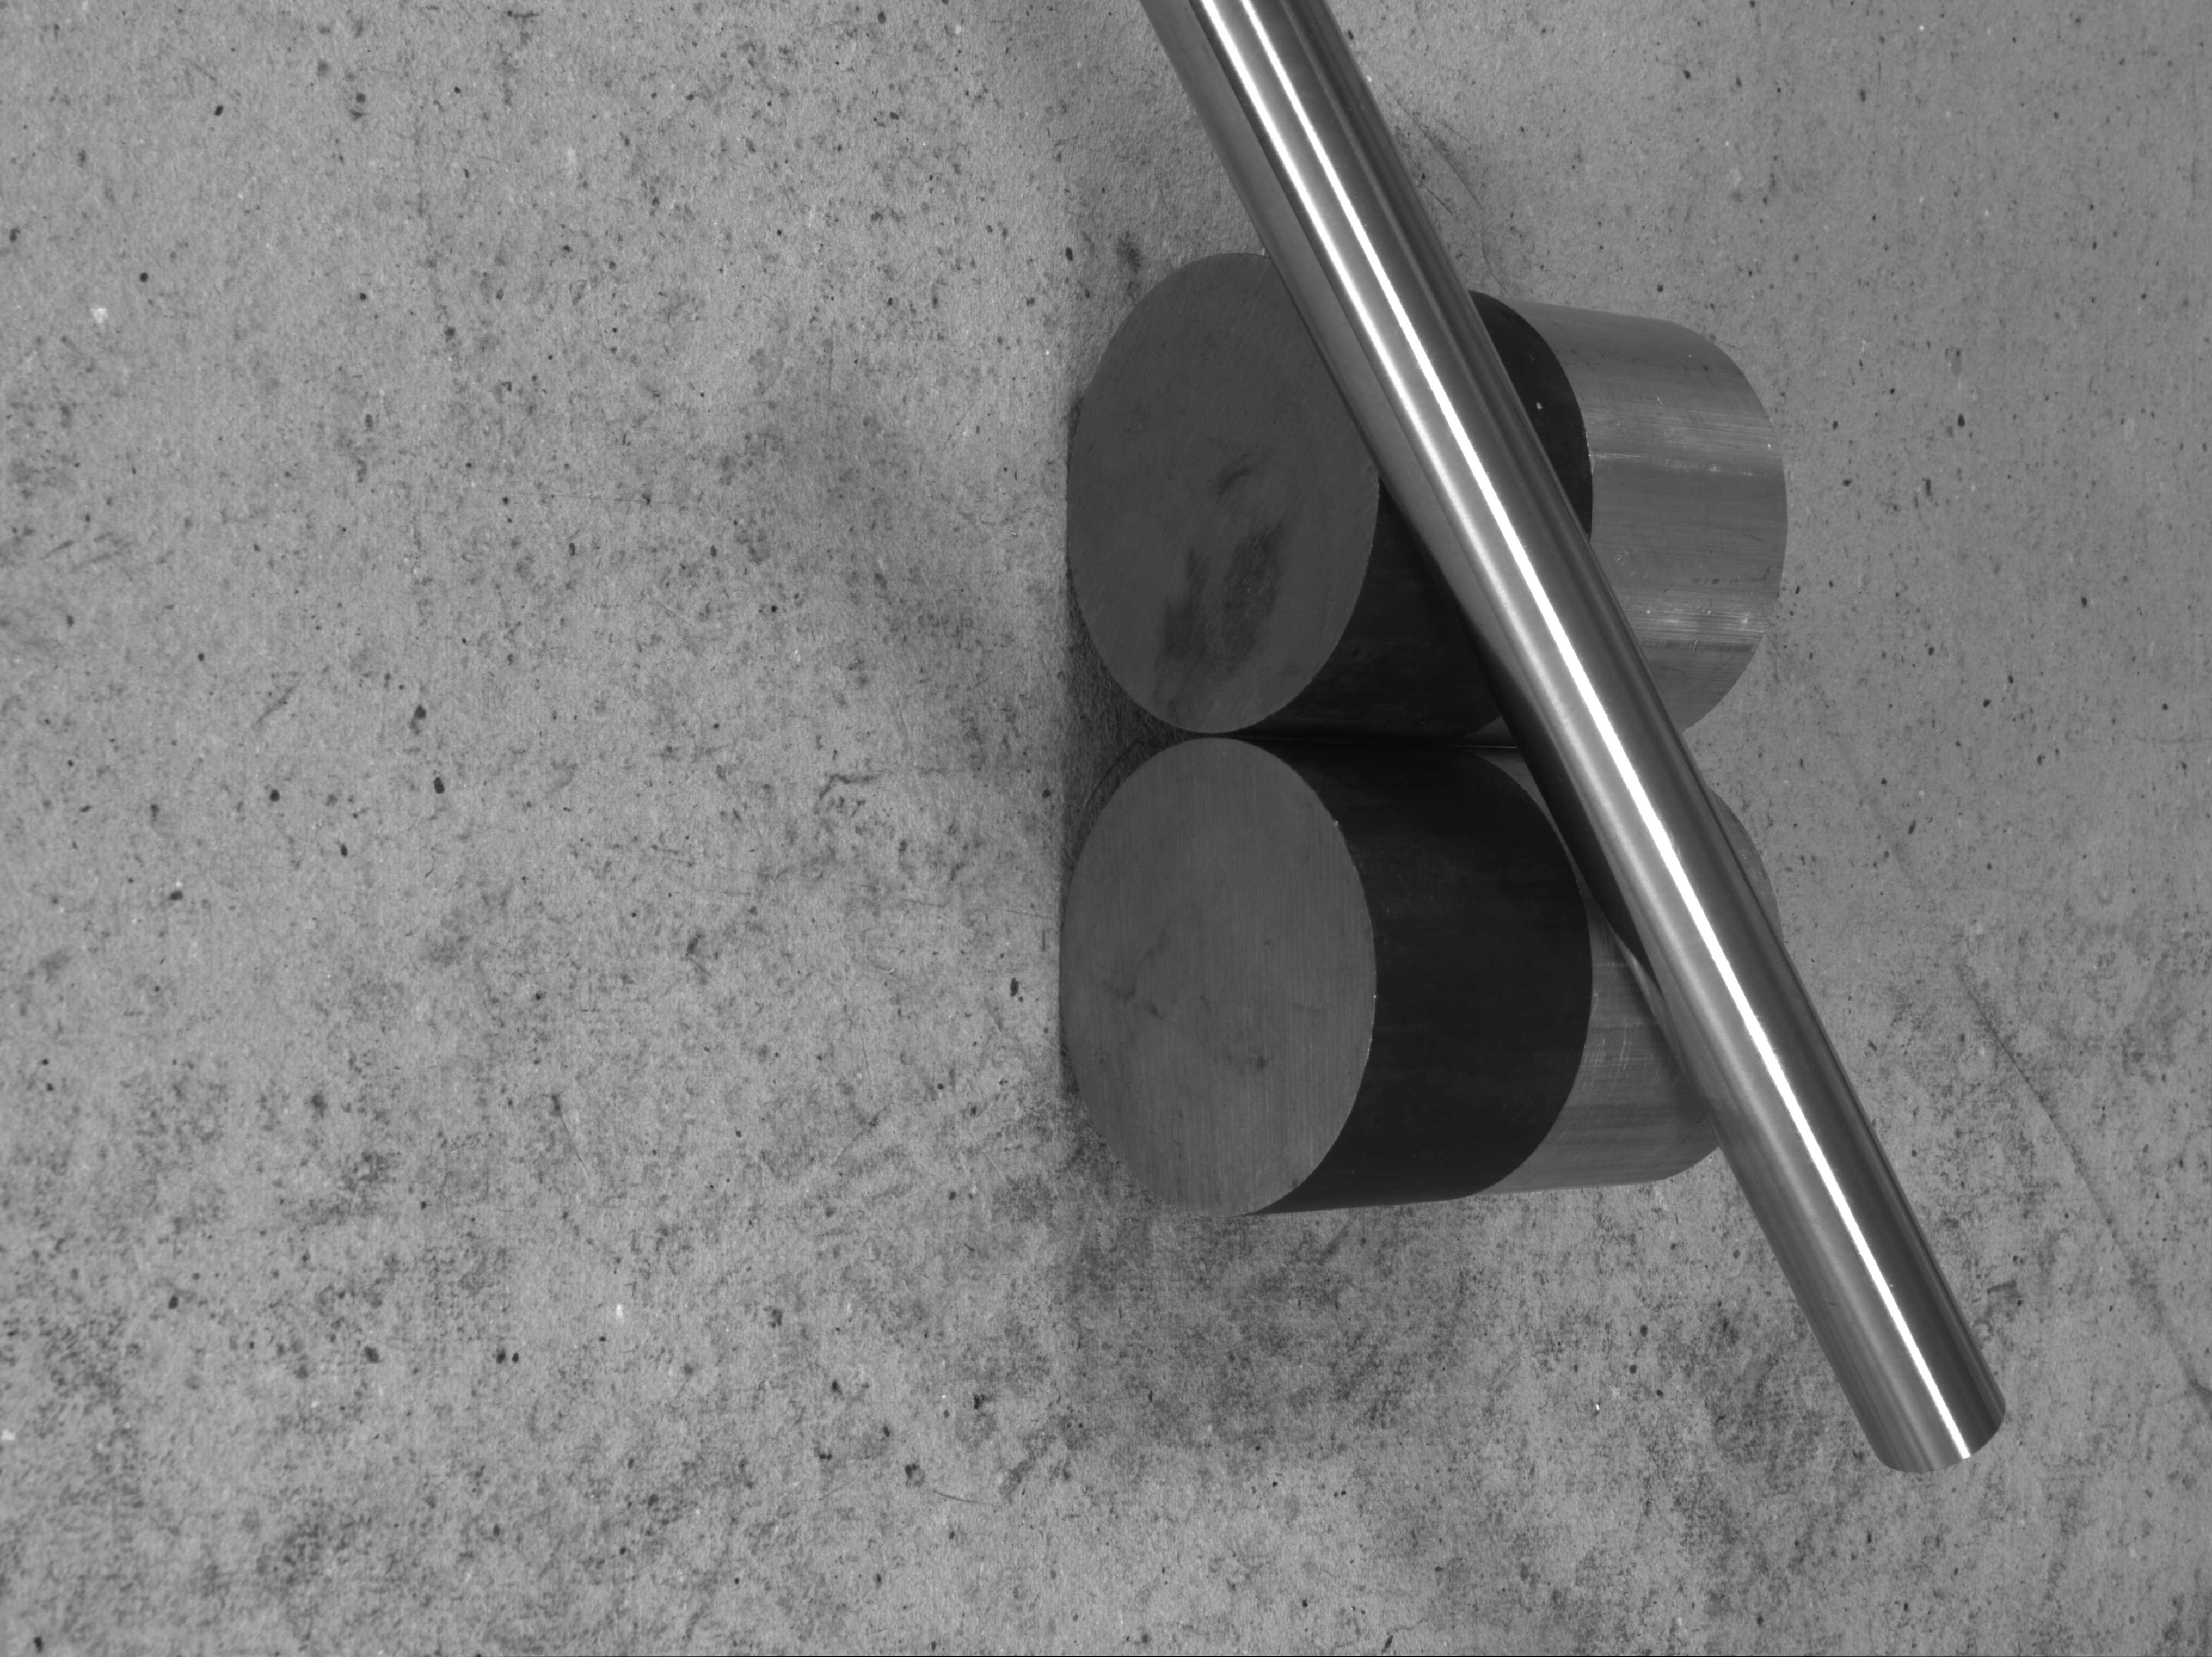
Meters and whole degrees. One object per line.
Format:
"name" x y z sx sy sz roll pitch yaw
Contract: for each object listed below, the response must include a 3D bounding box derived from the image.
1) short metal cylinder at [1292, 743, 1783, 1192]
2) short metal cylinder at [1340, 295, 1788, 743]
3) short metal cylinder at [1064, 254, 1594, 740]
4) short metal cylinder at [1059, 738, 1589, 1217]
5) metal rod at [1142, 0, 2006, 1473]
"short metal cylinder" 0.075 0.025 0.664 0.050 0.080 0.080 1 89 -40
"short metal cylinder" 0.076 -0.055 0.664 0.050 0.080 0.080 1 89 -40
"short metal cylinder" 0.037 -0.056 0.632 0.050 0.080 0.080 1 89 -40
"short metal cylinder" 0.036 0.025 0.632 0.050 0.080 0.080 1 89 -40
"metal rod" 0.081 -0.015 0.600 0.025 0.025 0.300 -44 116 -31
